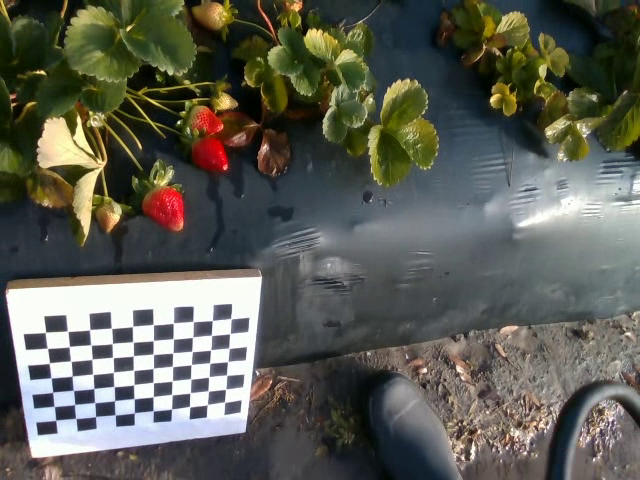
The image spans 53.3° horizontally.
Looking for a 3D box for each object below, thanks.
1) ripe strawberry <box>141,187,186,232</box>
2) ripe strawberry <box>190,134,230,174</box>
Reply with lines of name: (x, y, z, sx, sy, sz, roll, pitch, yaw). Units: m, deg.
ripe strawberry: (-0.183, -0.036, 0.743, 0.050, 0.065, 0.049, -35, -21, 6)
ripe strawberry: (-0.134, -0.101, 0.769, 0.055, 0.045, 0.041, 41, 19, 20)
